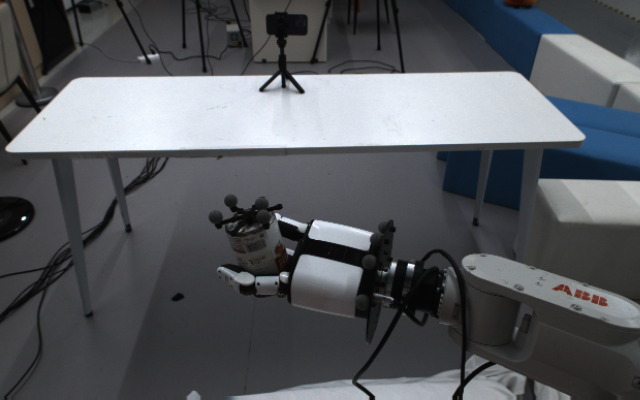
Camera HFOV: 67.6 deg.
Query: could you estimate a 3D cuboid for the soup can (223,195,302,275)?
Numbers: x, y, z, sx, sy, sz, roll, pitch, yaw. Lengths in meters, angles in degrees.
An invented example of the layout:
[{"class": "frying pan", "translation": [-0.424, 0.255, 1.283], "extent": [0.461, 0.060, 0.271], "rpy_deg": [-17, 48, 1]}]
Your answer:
[{"class": "soup can", "translation": [-0.078, 0.069, 0.635], "extent": [0.067, 0.101, 0.067], "rpy_deg": [-11, 26, 5]}]
